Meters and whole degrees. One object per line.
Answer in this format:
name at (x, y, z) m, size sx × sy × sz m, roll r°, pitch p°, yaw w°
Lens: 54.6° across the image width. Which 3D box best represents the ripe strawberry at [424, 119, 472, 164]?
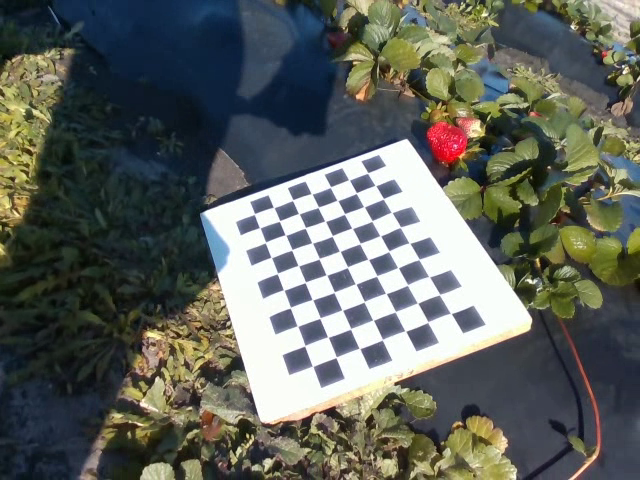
ripe strawberry at (0.150, -0.120, 0.748) m, size 0.058 × 0.066 × 0.062 m, roll -7°, pitch -43°, yaw 44°
